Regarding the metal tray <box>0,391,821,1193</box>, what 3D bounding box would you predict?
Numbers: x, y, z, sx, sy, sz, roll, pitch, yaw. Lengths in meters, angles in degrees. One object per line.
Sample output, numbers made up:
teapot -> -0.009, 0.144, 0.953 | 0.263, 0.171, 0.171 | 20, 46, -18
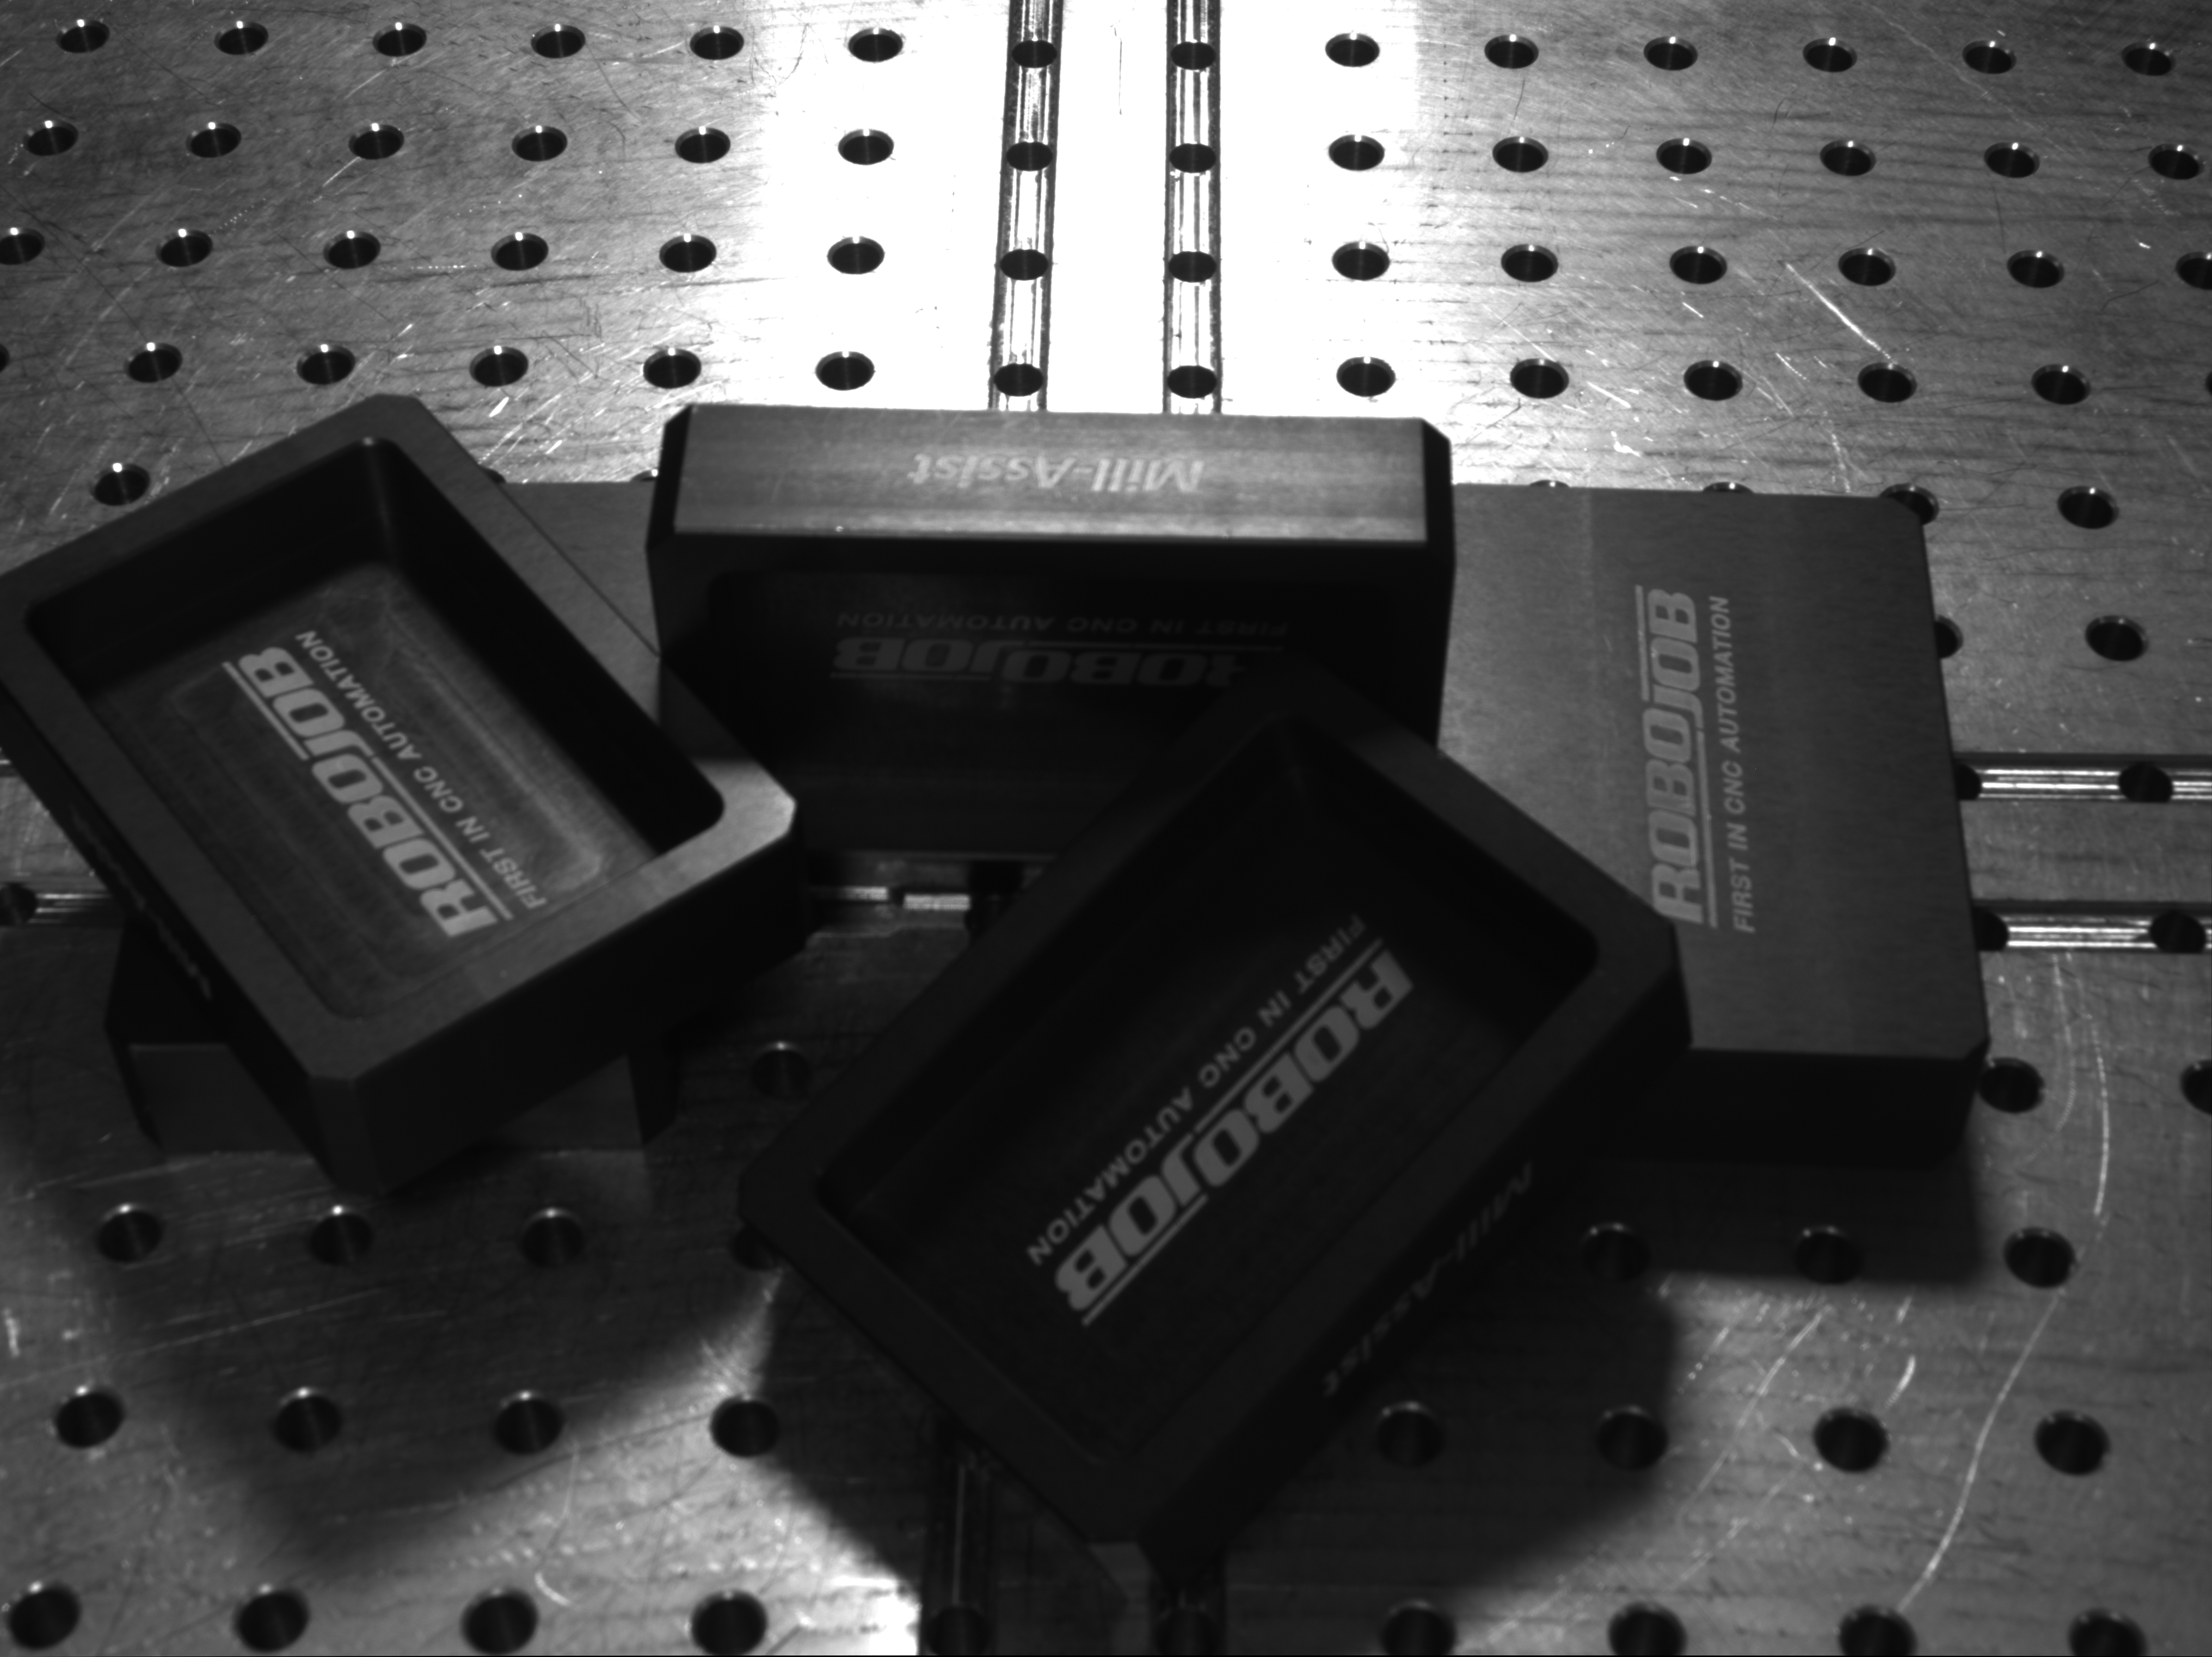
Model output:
metal tray -> -0.119, -0.010, 0.609 | 0.090, 0.030, 0.130 | -30, 57, -23

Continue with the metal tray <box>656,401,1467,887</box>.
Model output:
metal tray -> -0.007, -0.029, 0.626 | 0.130, 0.090, 0.030 | 1, 50, 1

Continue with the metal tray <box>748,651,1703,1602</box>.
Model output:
metal tray -> 0.020, 0.045, 0.580 | 0.130, 0.030, 0.090 | -45, 62, -12

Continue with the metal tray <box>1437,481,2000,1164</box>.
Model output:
metal tray -> 0.103, -0.004, 0.644 | 0.090, 0.030, 0.130 | 2, 50, 2

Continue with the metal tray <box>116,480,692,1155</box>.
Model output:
metal tray -> -0.117, -0.005, 0.646 | 0.090, 0.030, 0.130 | -1, 50, 0
